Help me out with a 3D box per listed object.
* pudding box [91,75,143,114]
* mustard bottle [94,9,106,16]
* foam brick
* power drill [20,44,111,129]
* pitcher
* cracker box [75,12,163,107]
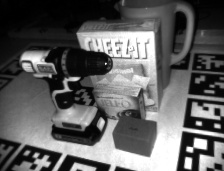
[{"bbox_3d":[0.012,0.023,0.505,0.112,0.091,0.039,4,41,23],"label":"pudding box"},{"bbox_3d":[-0.018,-0.118,0.604,0.095,0.193,0.059,16,49,30],"label":"mustard bottle"},{"bbox_3d":[0.049,0.095,0.463,0.077,0.052,0.053,8,46,22],"label":"foam brick"},{"bbox_3d":[-0.078,0.005,0.440,0.183,0.188,0.057,5,40,19],"label":"power drill"},{"bbox_3d":[0.103,-0.114,0.552,0.186,0.245,0.134,9,45,27],"label":"pitcher"},{"bbox_3d":[0.026,-0.048,0.501,0.162,0.215,0.072,2,40,21],"label":"cracker box"}]
